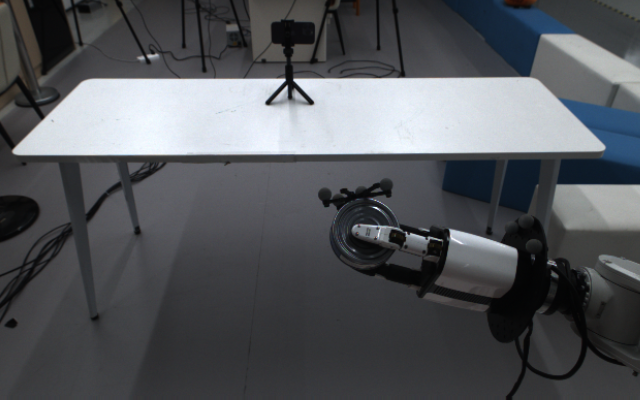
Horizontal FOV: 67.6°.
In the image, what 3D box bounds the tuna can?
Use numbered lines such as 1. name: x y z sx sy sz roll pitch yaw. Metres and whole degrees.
1. tuna can: 0.060 0.047 0.597 0.085 0.034 0.085 0 72 -1
